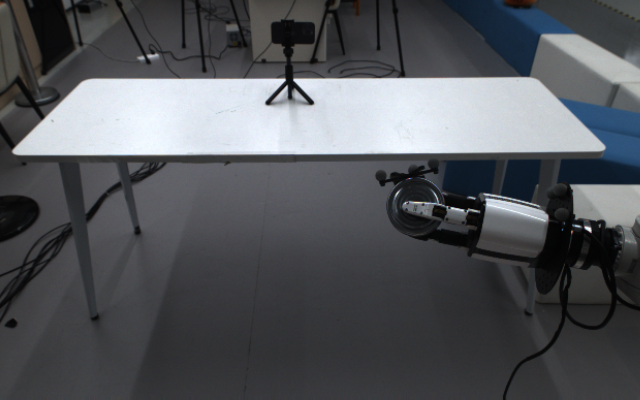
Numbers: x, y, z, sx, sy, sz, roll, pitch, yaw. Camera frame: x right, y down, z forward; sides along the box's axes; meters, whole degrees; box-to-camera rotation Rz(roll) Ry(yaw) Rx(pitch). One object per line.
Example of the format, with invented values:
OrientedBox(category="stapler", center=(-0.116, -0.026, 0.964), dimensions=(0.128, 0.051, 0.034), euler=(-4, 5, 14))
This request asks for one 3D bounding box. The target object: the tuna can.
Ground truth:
OrientedBox(category="tuna can", center=(0.144, 0.007, 0.715), dimensions=(0.085, 0.085, 0.034), euler=(12, -6, 14))
